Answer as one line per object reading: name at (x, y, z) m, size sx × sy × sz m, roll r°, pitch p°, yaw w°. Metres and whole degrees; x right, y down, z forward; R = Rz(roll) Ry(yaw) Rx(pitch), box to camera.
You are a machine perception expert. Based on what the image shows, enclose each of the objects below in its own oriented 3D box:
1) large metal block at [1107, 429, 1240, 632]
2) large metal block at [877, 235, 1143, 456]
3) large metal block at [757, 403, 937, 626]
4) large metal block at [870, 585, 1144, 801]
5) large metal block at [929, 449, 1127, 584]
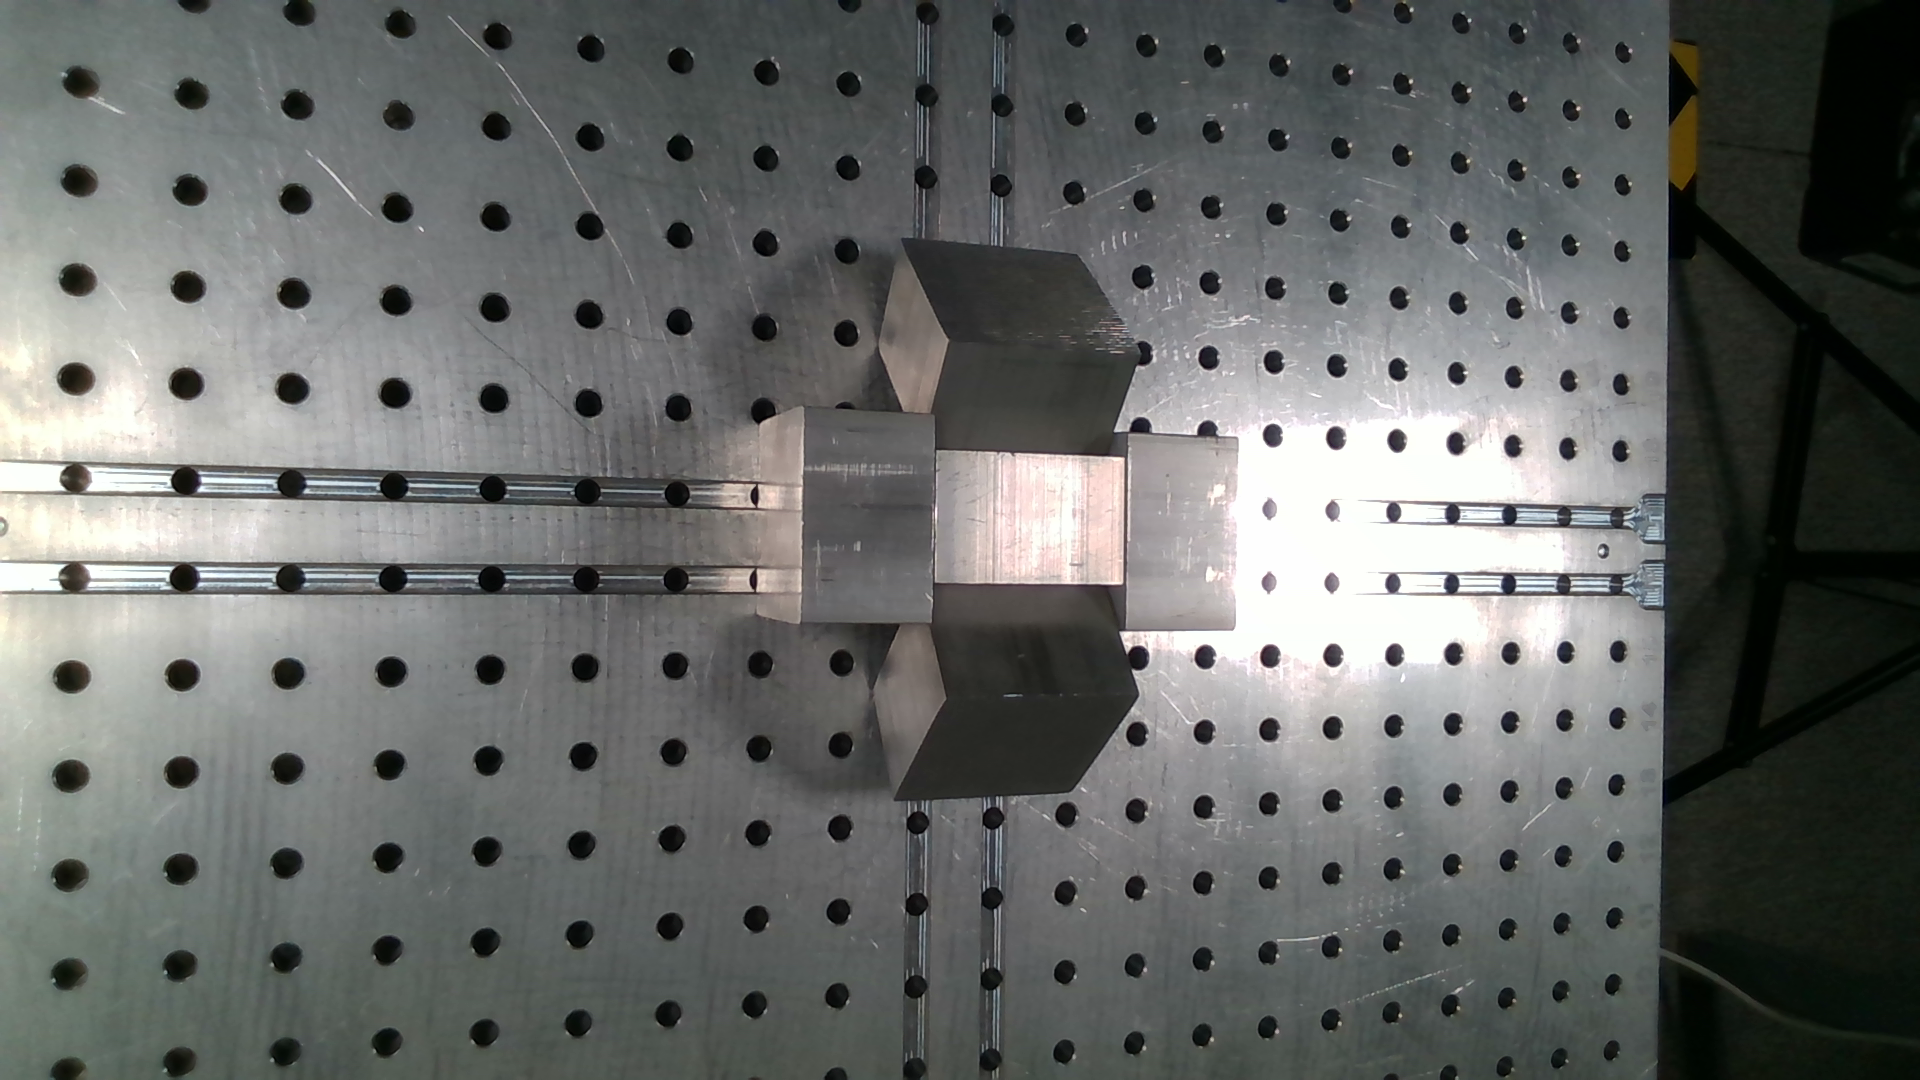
large metal block at (0.076, -0.003, 0.586) m, size 0.050 × 0.080 × 0.080 m, roll 1°, pitch 90°, yaw -20°
large metal block at (0.017, -0.079, 0.558) m, size 0.080 × 0.080 × 0.050 m, roll 1°, pitch 129°, yaw -20°
large metal block at (-0.047, -0.009, 0.541) m, size 0.050 × 0.080 × 0.080 m, roll 1°, pitch 90°, yaw -20°
large metal block at (0.016, 0.062, 0.556) m, size 0.080 × 0.080 × 0.050 m, roll 1°, pitch 52°, yaw -21°
large metal block at (0.014, -0.008, 0.563) m, size 0.080 × 0.080 × 0.050 m, roll 1°, pitch 90°, yaw -20°
